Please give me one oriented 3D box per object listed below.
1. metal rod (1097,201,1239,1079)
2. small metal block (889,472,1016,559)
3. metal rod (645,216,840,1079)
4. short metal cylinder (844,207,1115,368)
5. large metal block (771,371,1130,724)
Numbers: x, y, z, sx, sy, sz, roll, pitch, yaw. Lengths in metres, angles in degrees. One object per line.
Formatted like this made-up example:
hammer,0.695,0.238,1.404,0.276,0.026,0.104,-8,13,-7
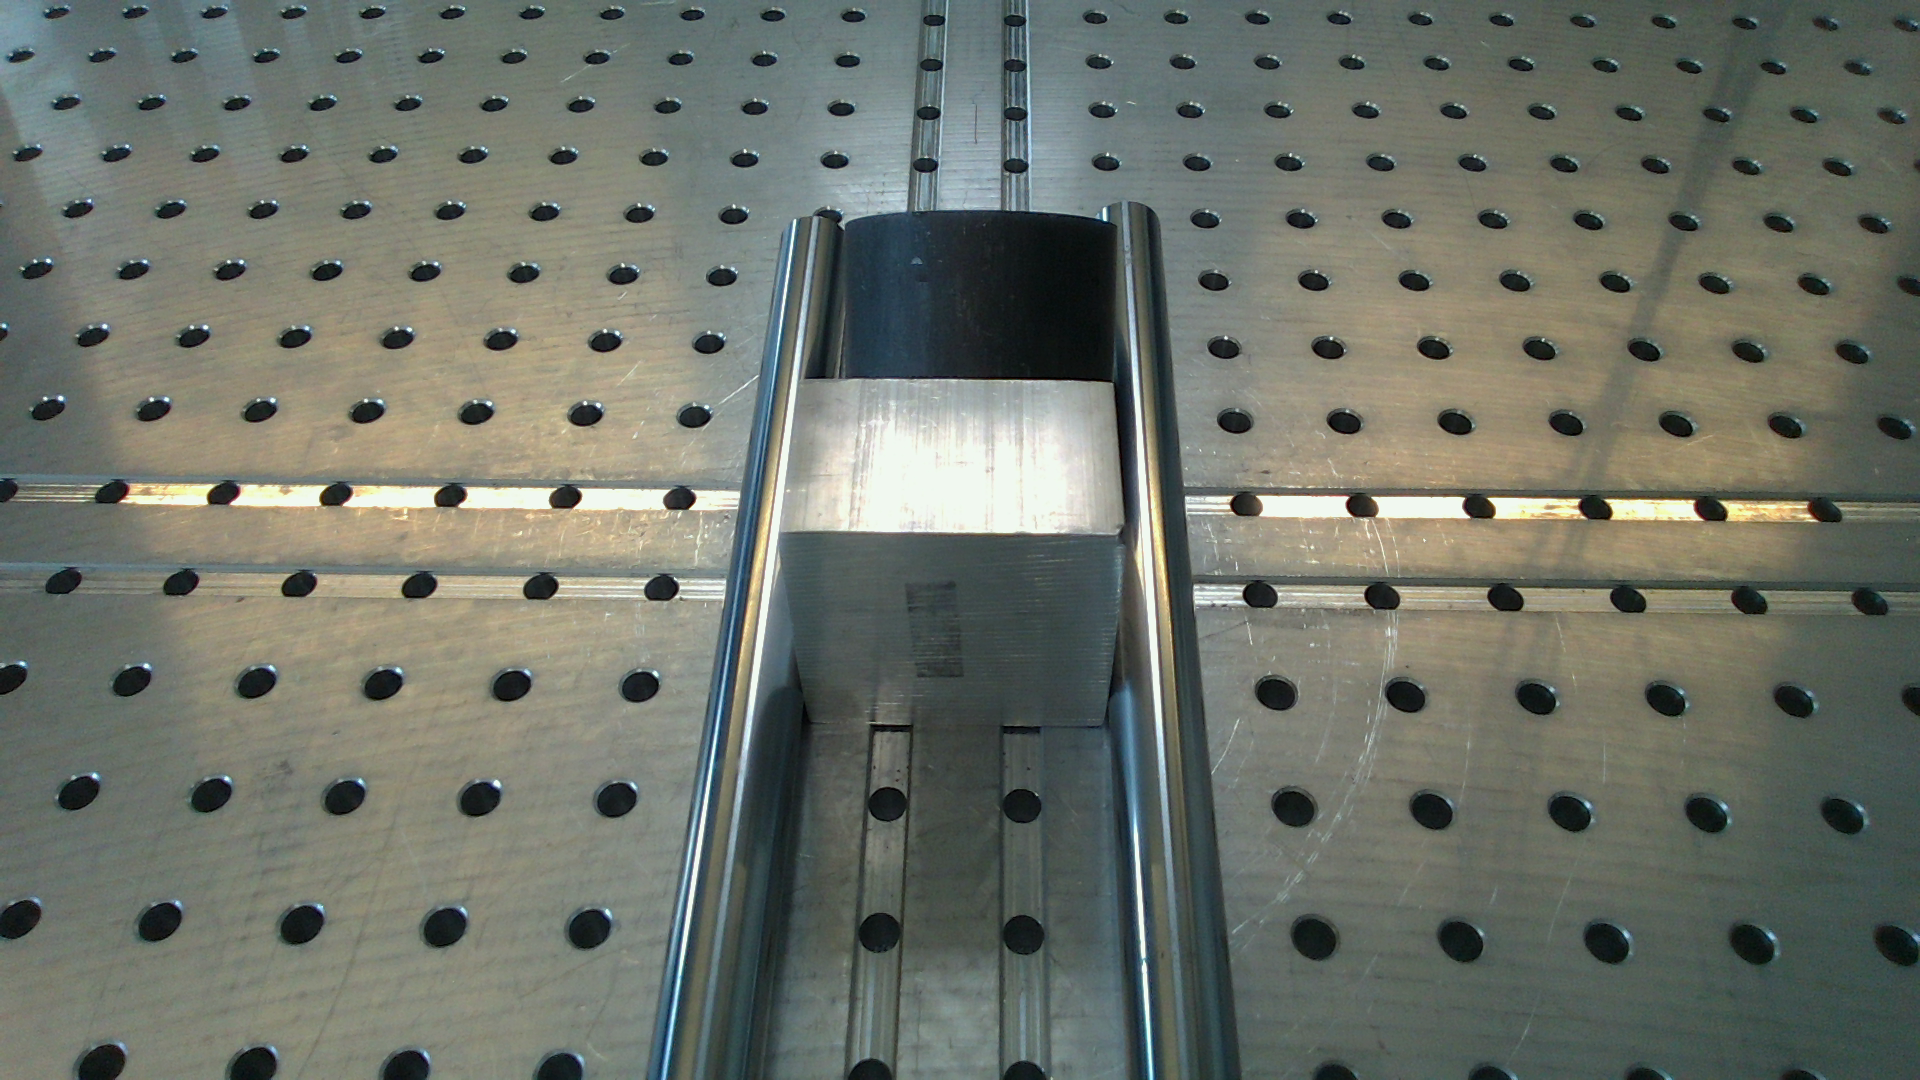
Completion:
metal rod,0.053,0.005,0.390,0.025,0.025,0.300,2,50,1
small metal block,0.004,-0.014,0.390,0.050,0.050,0.025,1,50,1
metal rod,-0.053,0.011,0.385,0.025,0.025,0.300,1,50,1
short metal cylinder,0.005,-0.067,0.407,0.080,0.050,0.080,1,6,0
large metal block,-0.002,0.004,0.352,0.080,0.080,0.050,1,50,1
